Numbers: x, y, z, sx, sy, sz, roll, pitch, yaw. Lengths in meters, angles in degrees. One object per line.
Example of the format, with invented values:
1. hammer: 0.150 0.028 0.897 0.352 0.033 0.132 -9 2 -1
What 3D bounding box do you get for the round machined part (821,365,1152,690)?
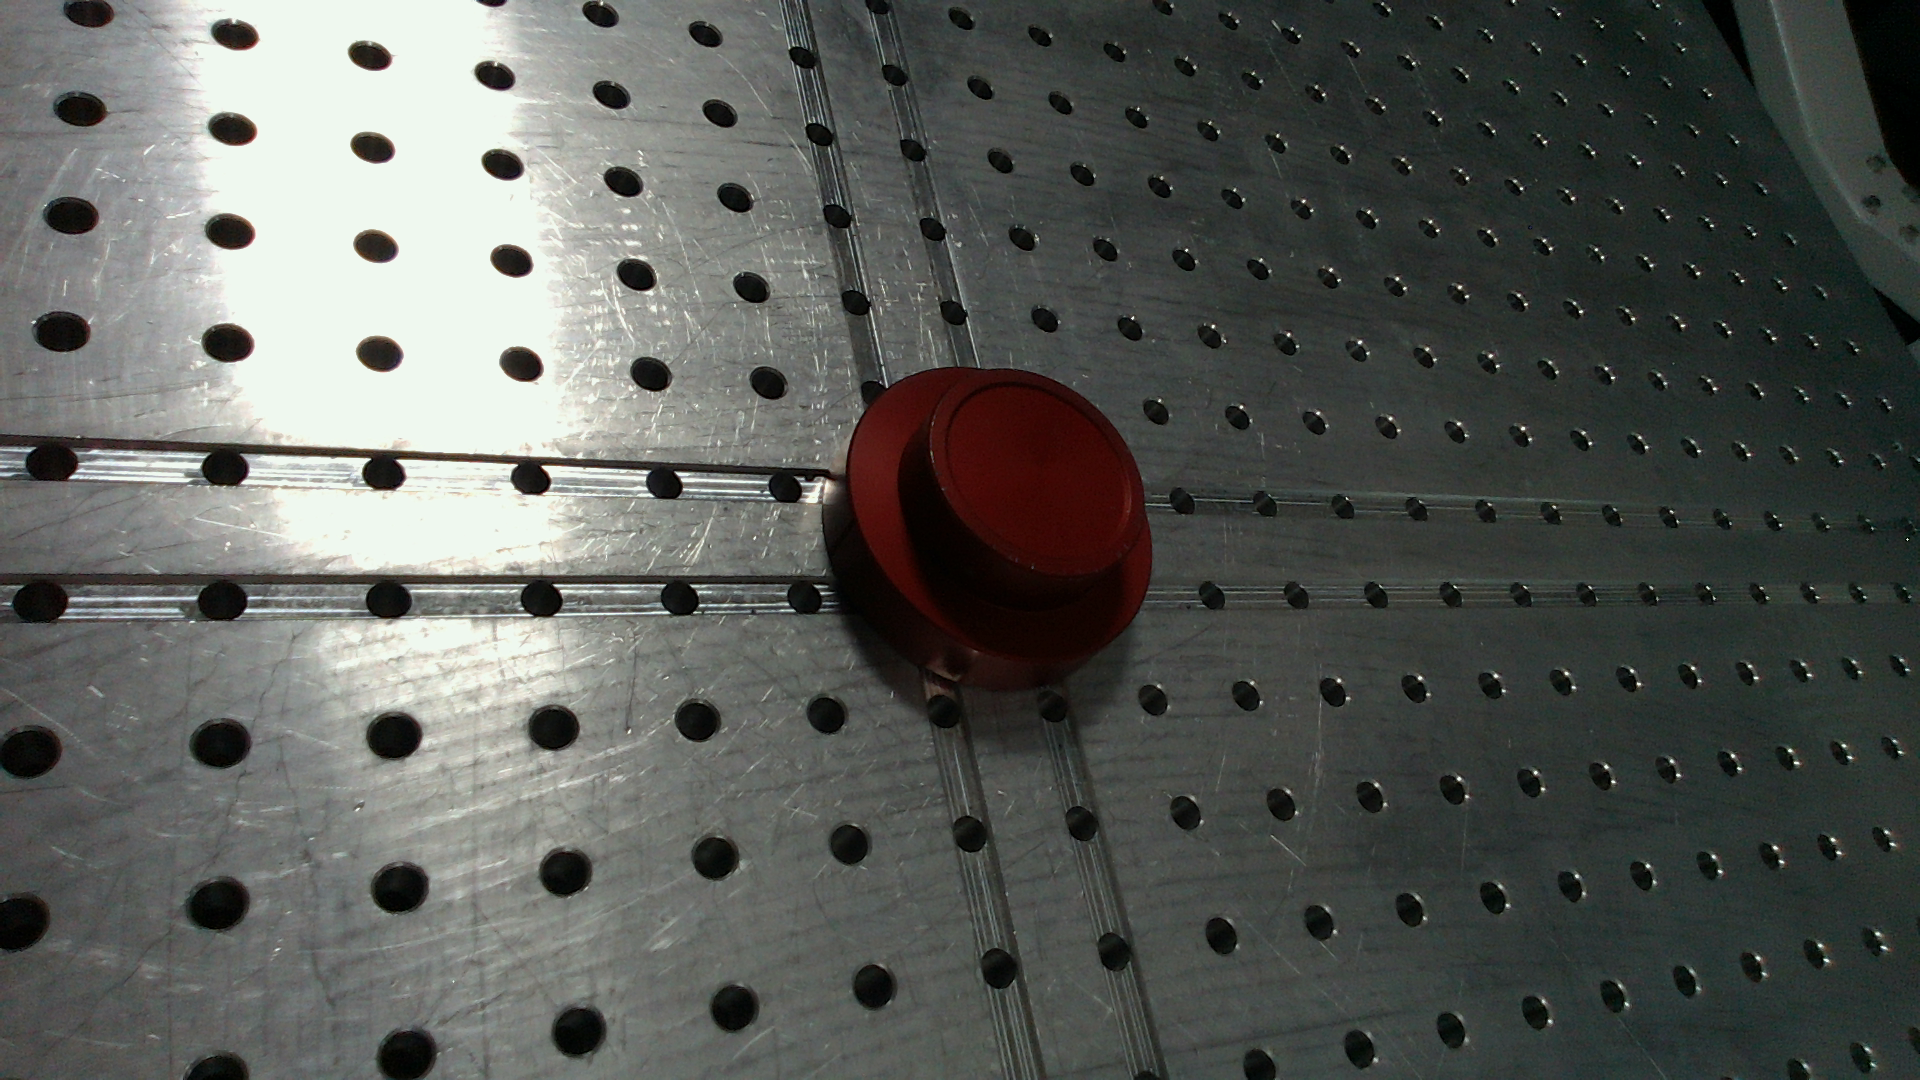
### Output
1. round machined part: 0.013 -0.010 0.395 0.098 0.042 0.098 14 56 -21
